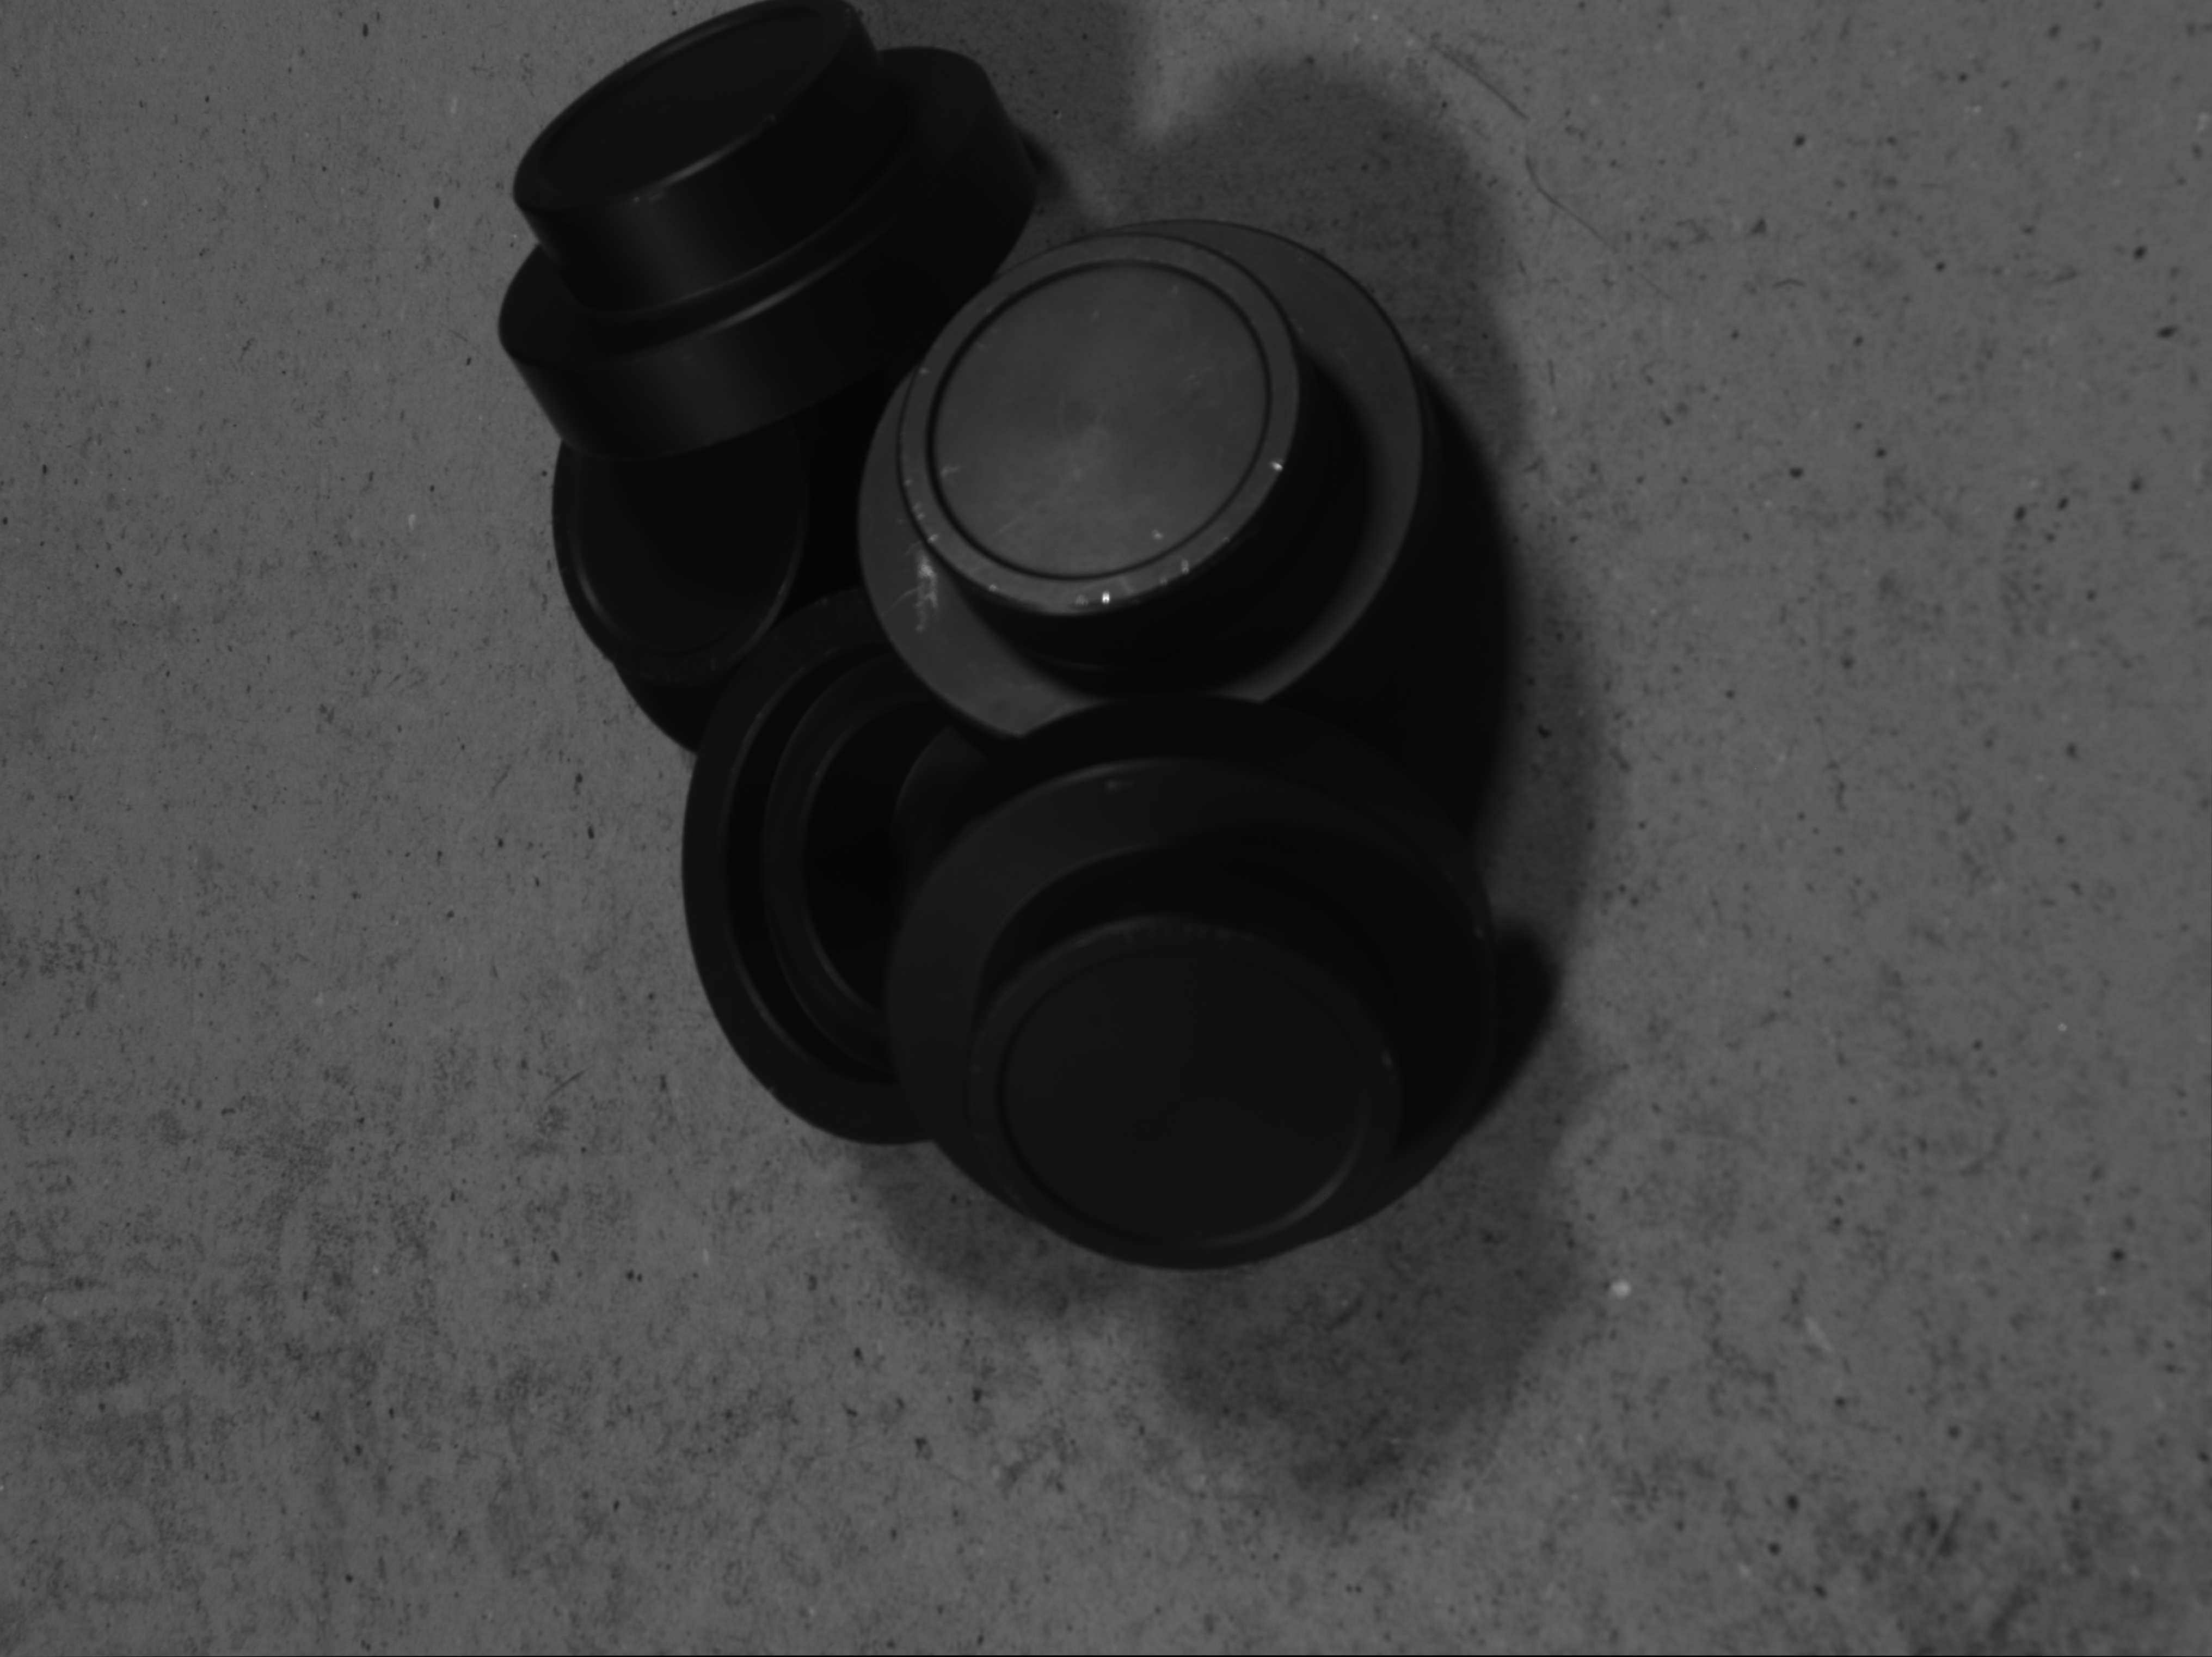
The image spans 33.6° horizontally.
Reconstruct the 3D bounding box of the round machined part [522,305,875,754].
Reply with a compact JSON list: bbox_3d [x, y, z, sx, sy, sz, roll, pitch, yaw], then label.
[{"bbox_3d":[-0.071,-0.060,0.686,0.098,0.042,0.098,0,90,39],"label":"round machined part"}]

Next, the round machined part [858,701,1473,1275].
[{"bbox_3d":[0.009,0.032,0.582,0.098,0.098,0.042,-51,20,27],"label":"round machined part"}]

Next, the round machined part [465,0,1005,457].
[{"bbox_3d":[-0.071,-0.111,0.646,0.098,0.098,0.042,1,132,39],"label":"round machined part"}]

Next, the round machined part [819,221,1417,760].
[{"bbox_3d":[-0.001,-0.057,0.598,0.098,0.042,0.098,-6,66,14],"label":"round machined part"}]

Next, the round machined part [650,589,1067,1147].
[{"bbox_3d":[-0.033,0.006,0.652,0.098,0.042,0.098,0,90,39],"label":"round machined part"}]
